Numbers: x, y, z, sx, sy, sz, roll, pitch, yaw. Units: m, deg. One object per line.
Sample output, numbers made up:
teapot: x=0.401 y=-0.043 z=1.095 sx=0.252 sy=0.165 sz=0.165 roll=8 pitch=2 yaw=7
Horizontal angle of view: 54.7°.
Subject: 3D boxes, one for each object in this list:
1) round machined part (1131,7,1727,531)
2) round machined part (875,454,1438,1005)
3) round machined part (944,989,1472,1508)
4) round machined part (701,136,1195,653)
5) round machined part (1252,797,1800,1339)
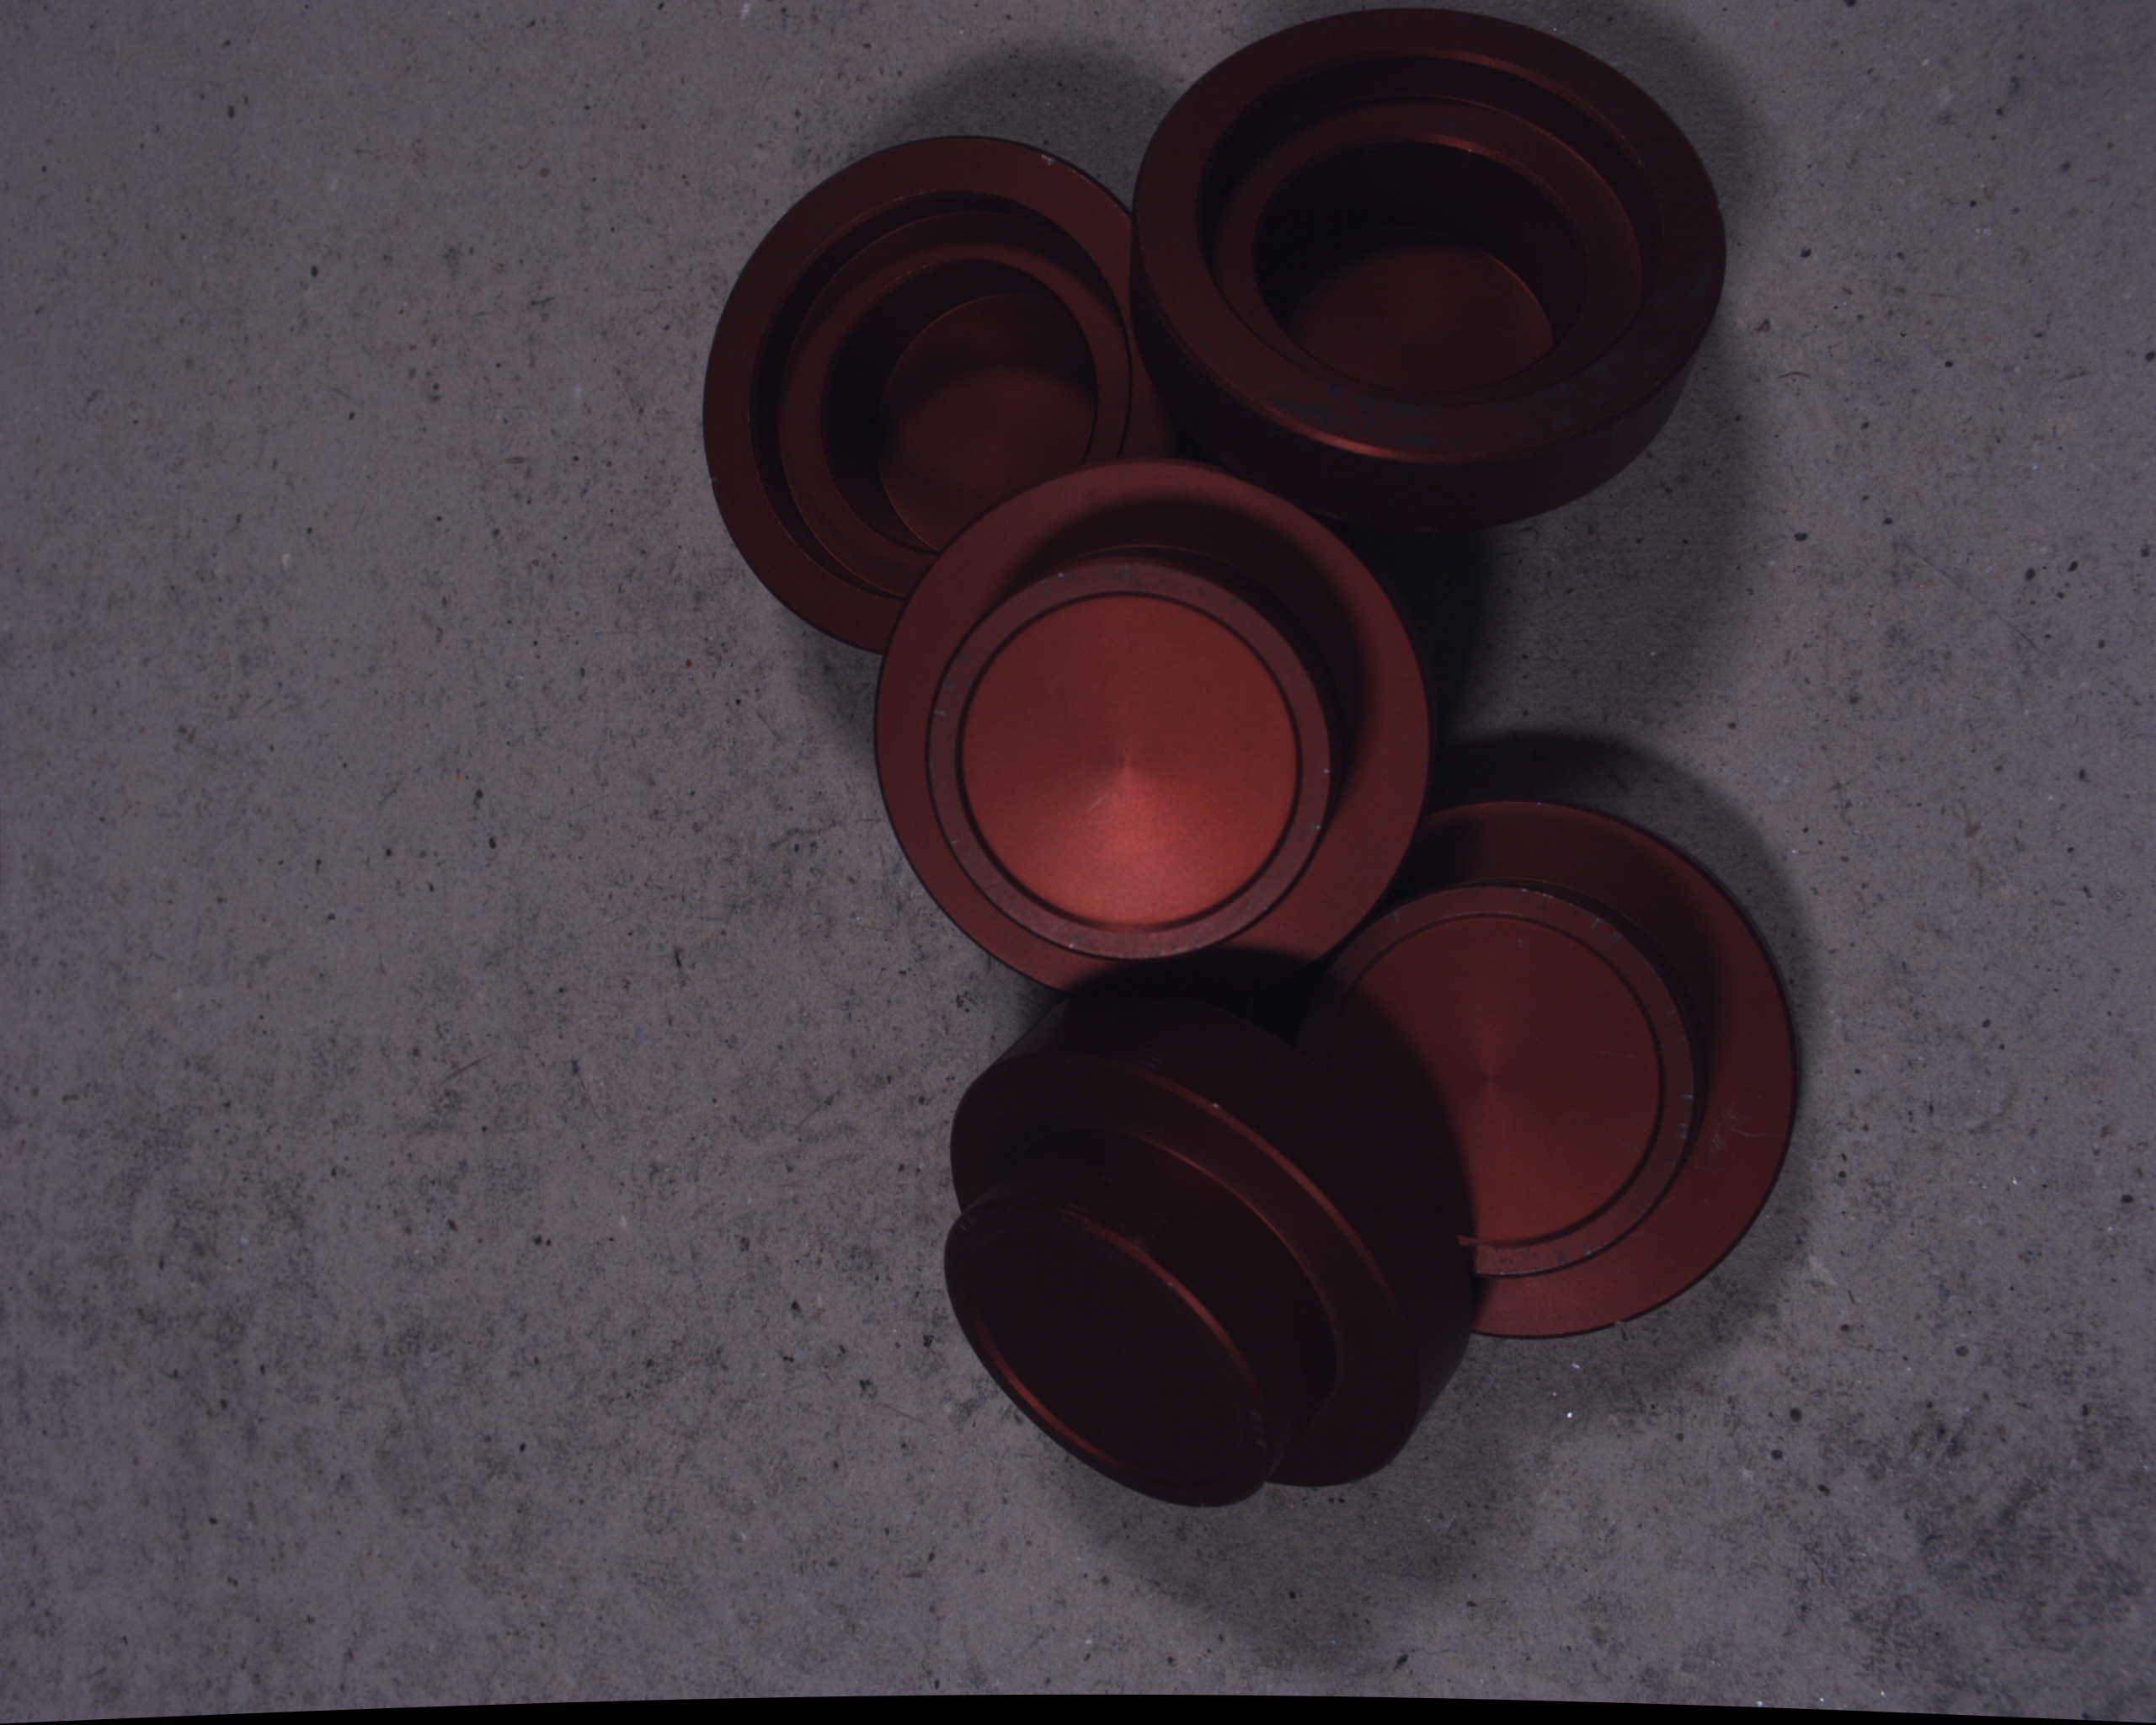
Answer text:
round machined part: x=0.059 y=-0.098 z=0.365 sx=0.099 sy=0.042 sz=0.098 roll=0 pitch=65 yaw=0
round machined part: x=0.012 y=-0.021 z=0.361 sx=0.098 sy=0.042 sz=0.097 roll=2 pitch=101 yaw=11
round machined part: x=0.016 y=0.074 z=0.368 sx=0.098 sy=0.042 sz=0.097 roll=24 pitch=136 yaw=26
round machined part: x=-0.020 y=-0.087 z=0.407 sx=0.098 sy=0.042 sz=0.097 roll=0 pitch=90 yaw=19
round machined part: x=0.077 y=0.037 z=0.373 sx=0.098 sy=0.042 sz=0.097 roll=0 pitch=90 yaw=19
